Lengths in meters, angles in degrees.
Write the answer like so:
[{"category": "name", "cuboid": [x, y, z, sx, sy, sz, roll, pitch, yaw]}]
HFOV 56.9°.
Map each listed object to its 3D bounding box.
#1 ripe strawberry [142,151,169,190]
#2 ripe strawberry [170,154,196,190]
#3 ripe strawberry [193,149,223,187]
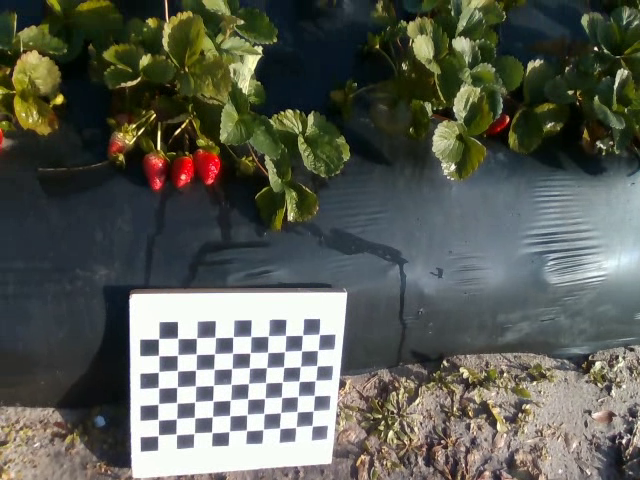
[{"category": "ripe strawberry", "cuboid": [-0.186, -0.077, 0.665, 0.031, 0.045, 0.023, 0, -1, -10]}, {"category": "ripe strawberry", "cuboid": [-0.157, -0.076, 0.664, 0.031, 0.037, 0.039, 10, 37, -12]}, {"category": "ripe strawberry", "cuboid": [-0.129, -0.077, 0.673, 0.035, 0.041, 0.034, -4, -36, -9]}]
